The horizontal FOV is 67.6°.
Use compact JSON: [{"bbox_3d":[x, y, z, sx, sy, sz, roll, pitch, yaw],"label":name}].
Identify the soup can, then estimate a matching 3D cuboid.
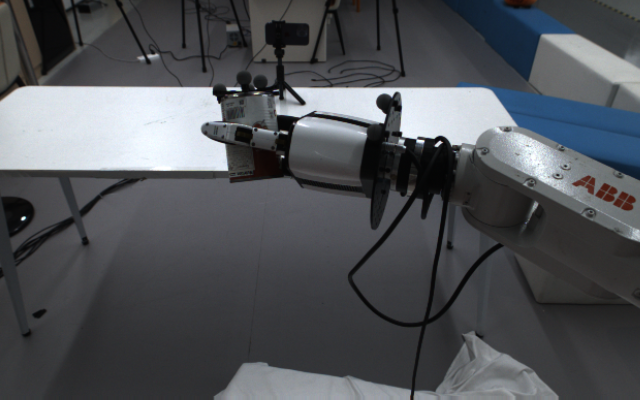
[{"bbox_3d":[-0.081,-0.074,0.591,0.067,0.101,0.067,-7,3,0],"label":"soup can"}]
